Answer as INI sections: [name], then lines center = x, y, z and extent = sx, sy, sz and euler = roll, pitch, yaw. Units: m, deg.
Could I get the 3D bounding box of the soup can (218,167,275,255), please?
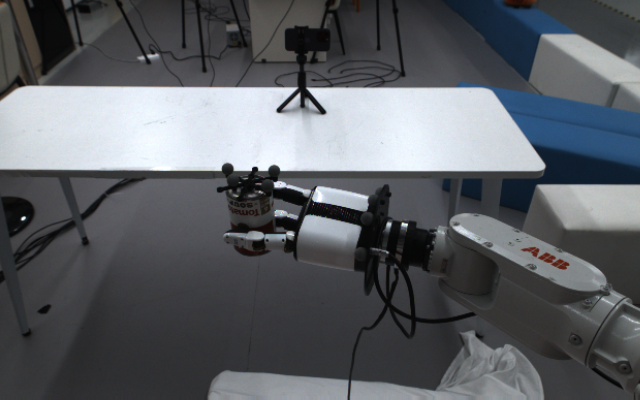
[soup can]
center = -0.099, 0.023, 0.714
extent = 0.067, 0.101, 0.067
euler = -2, 34, 1
